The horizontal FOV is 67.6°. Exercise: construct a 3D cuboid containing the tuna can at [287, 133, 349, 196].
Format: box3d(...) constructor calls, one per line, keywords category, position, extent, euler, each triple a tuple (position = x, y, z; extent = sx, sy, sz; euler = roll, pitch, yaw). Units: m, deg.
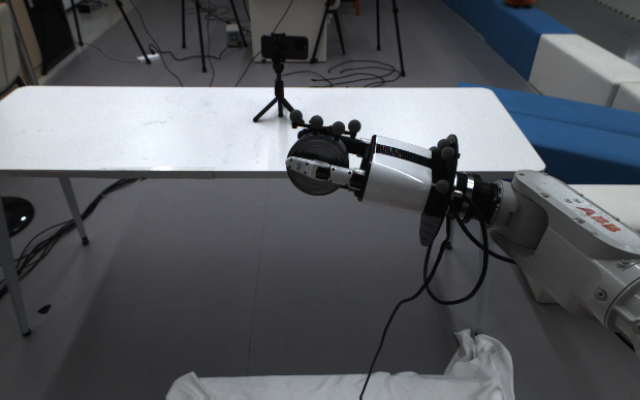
box3d(category="tuna can", position=(-0.001, -0.052, 0.668), extent=(0.085, 0.085, 0.034), euler=(5, 18, 4))
